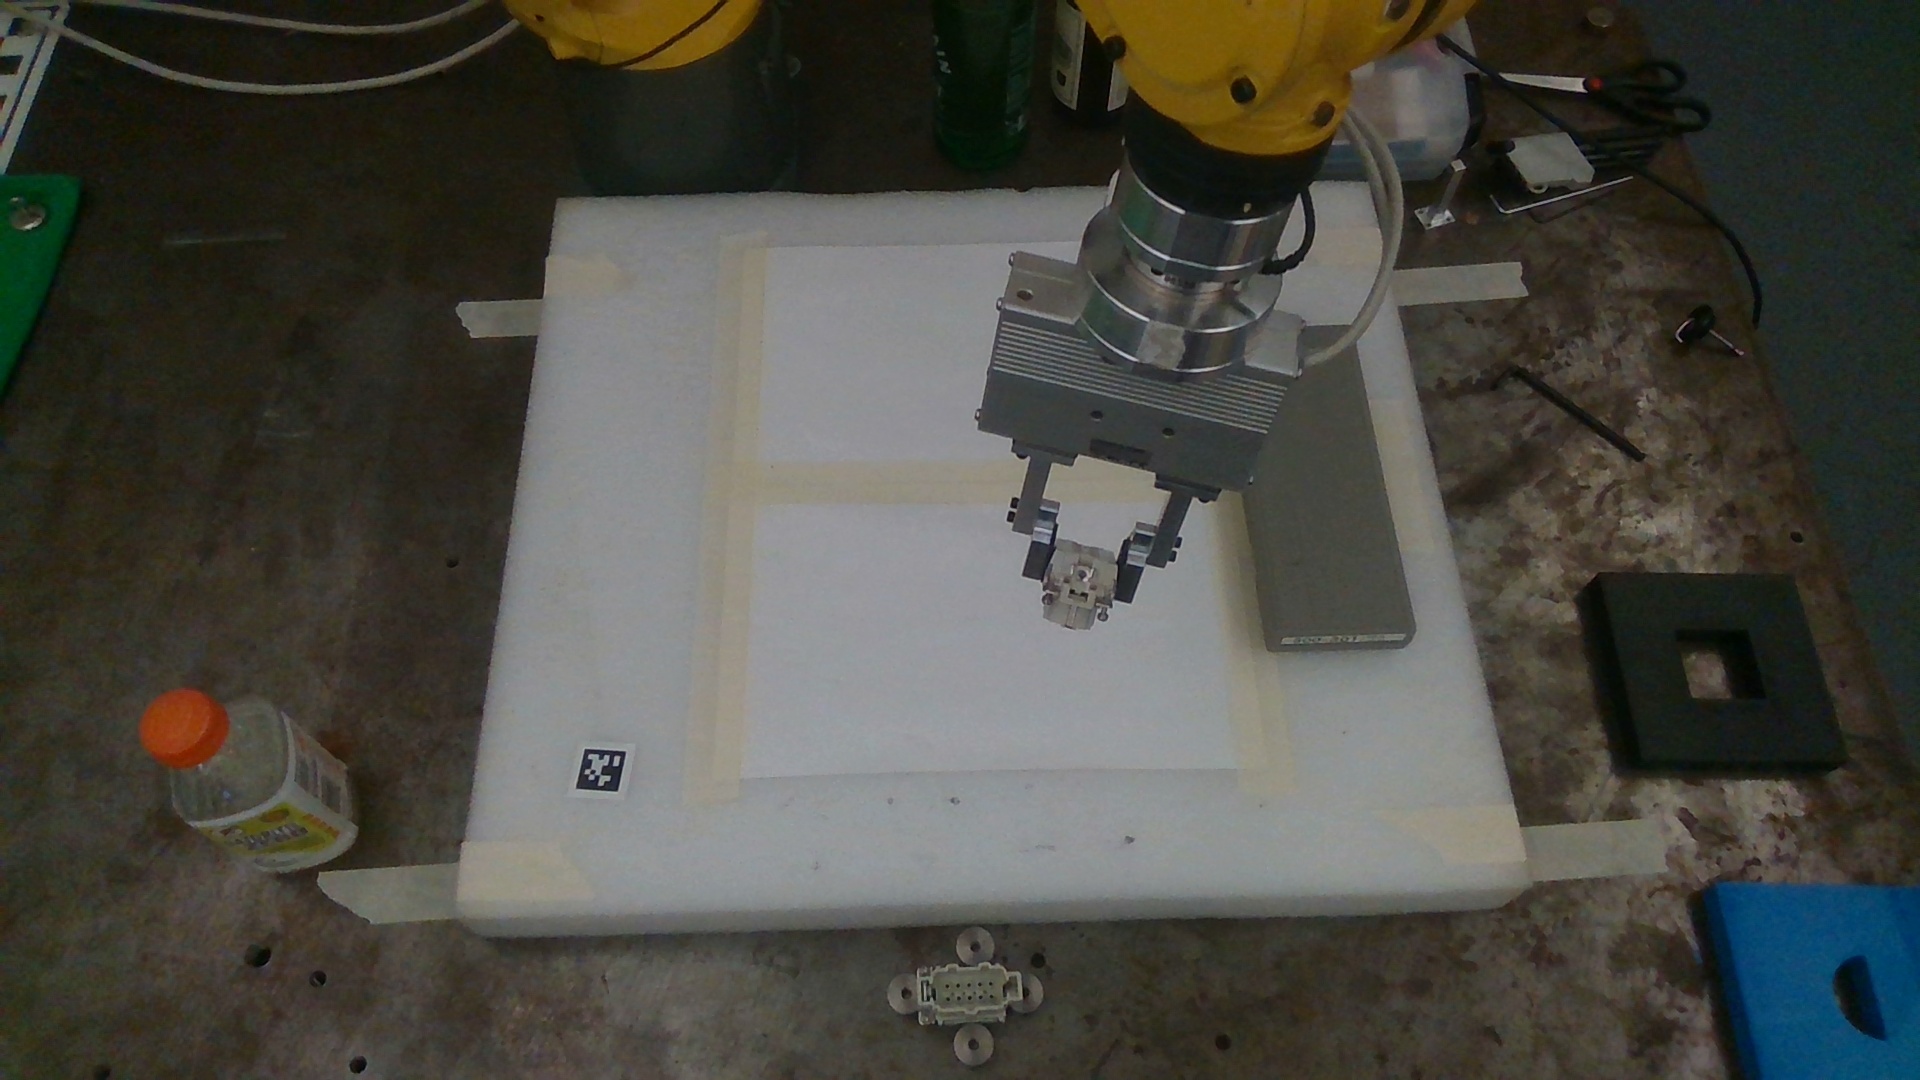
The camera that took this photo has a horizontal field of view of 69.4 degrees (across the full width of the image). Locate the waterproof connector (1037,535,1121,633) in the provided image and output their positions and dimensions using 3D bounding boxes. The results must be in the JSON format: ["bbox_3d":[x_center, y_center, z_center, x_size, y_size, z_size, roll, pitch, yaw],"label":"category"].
[{"bbox_3d":[0.055,0.022,0.670,0.037,0.069,0.038,14,97,1],"label":"waterproof connector"}]
